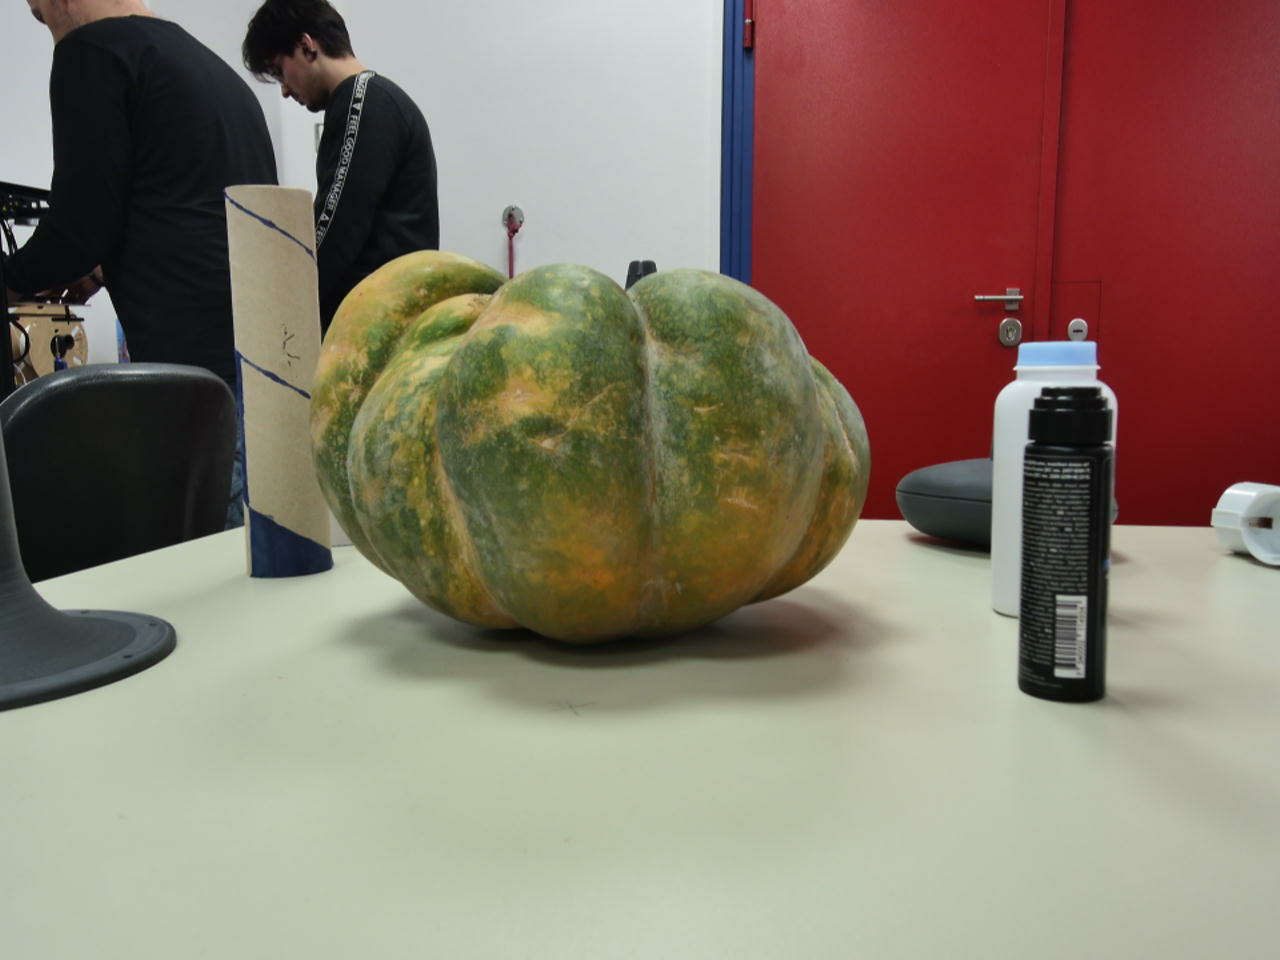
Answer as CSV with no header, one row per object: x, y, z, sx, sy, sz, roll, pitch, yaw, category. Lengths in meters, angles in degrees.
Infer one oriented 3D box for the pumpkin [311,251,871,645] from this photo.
-0.024,-0.019,0.475,0.237,0.173,0.270,-4,6,-41,pumpkin
